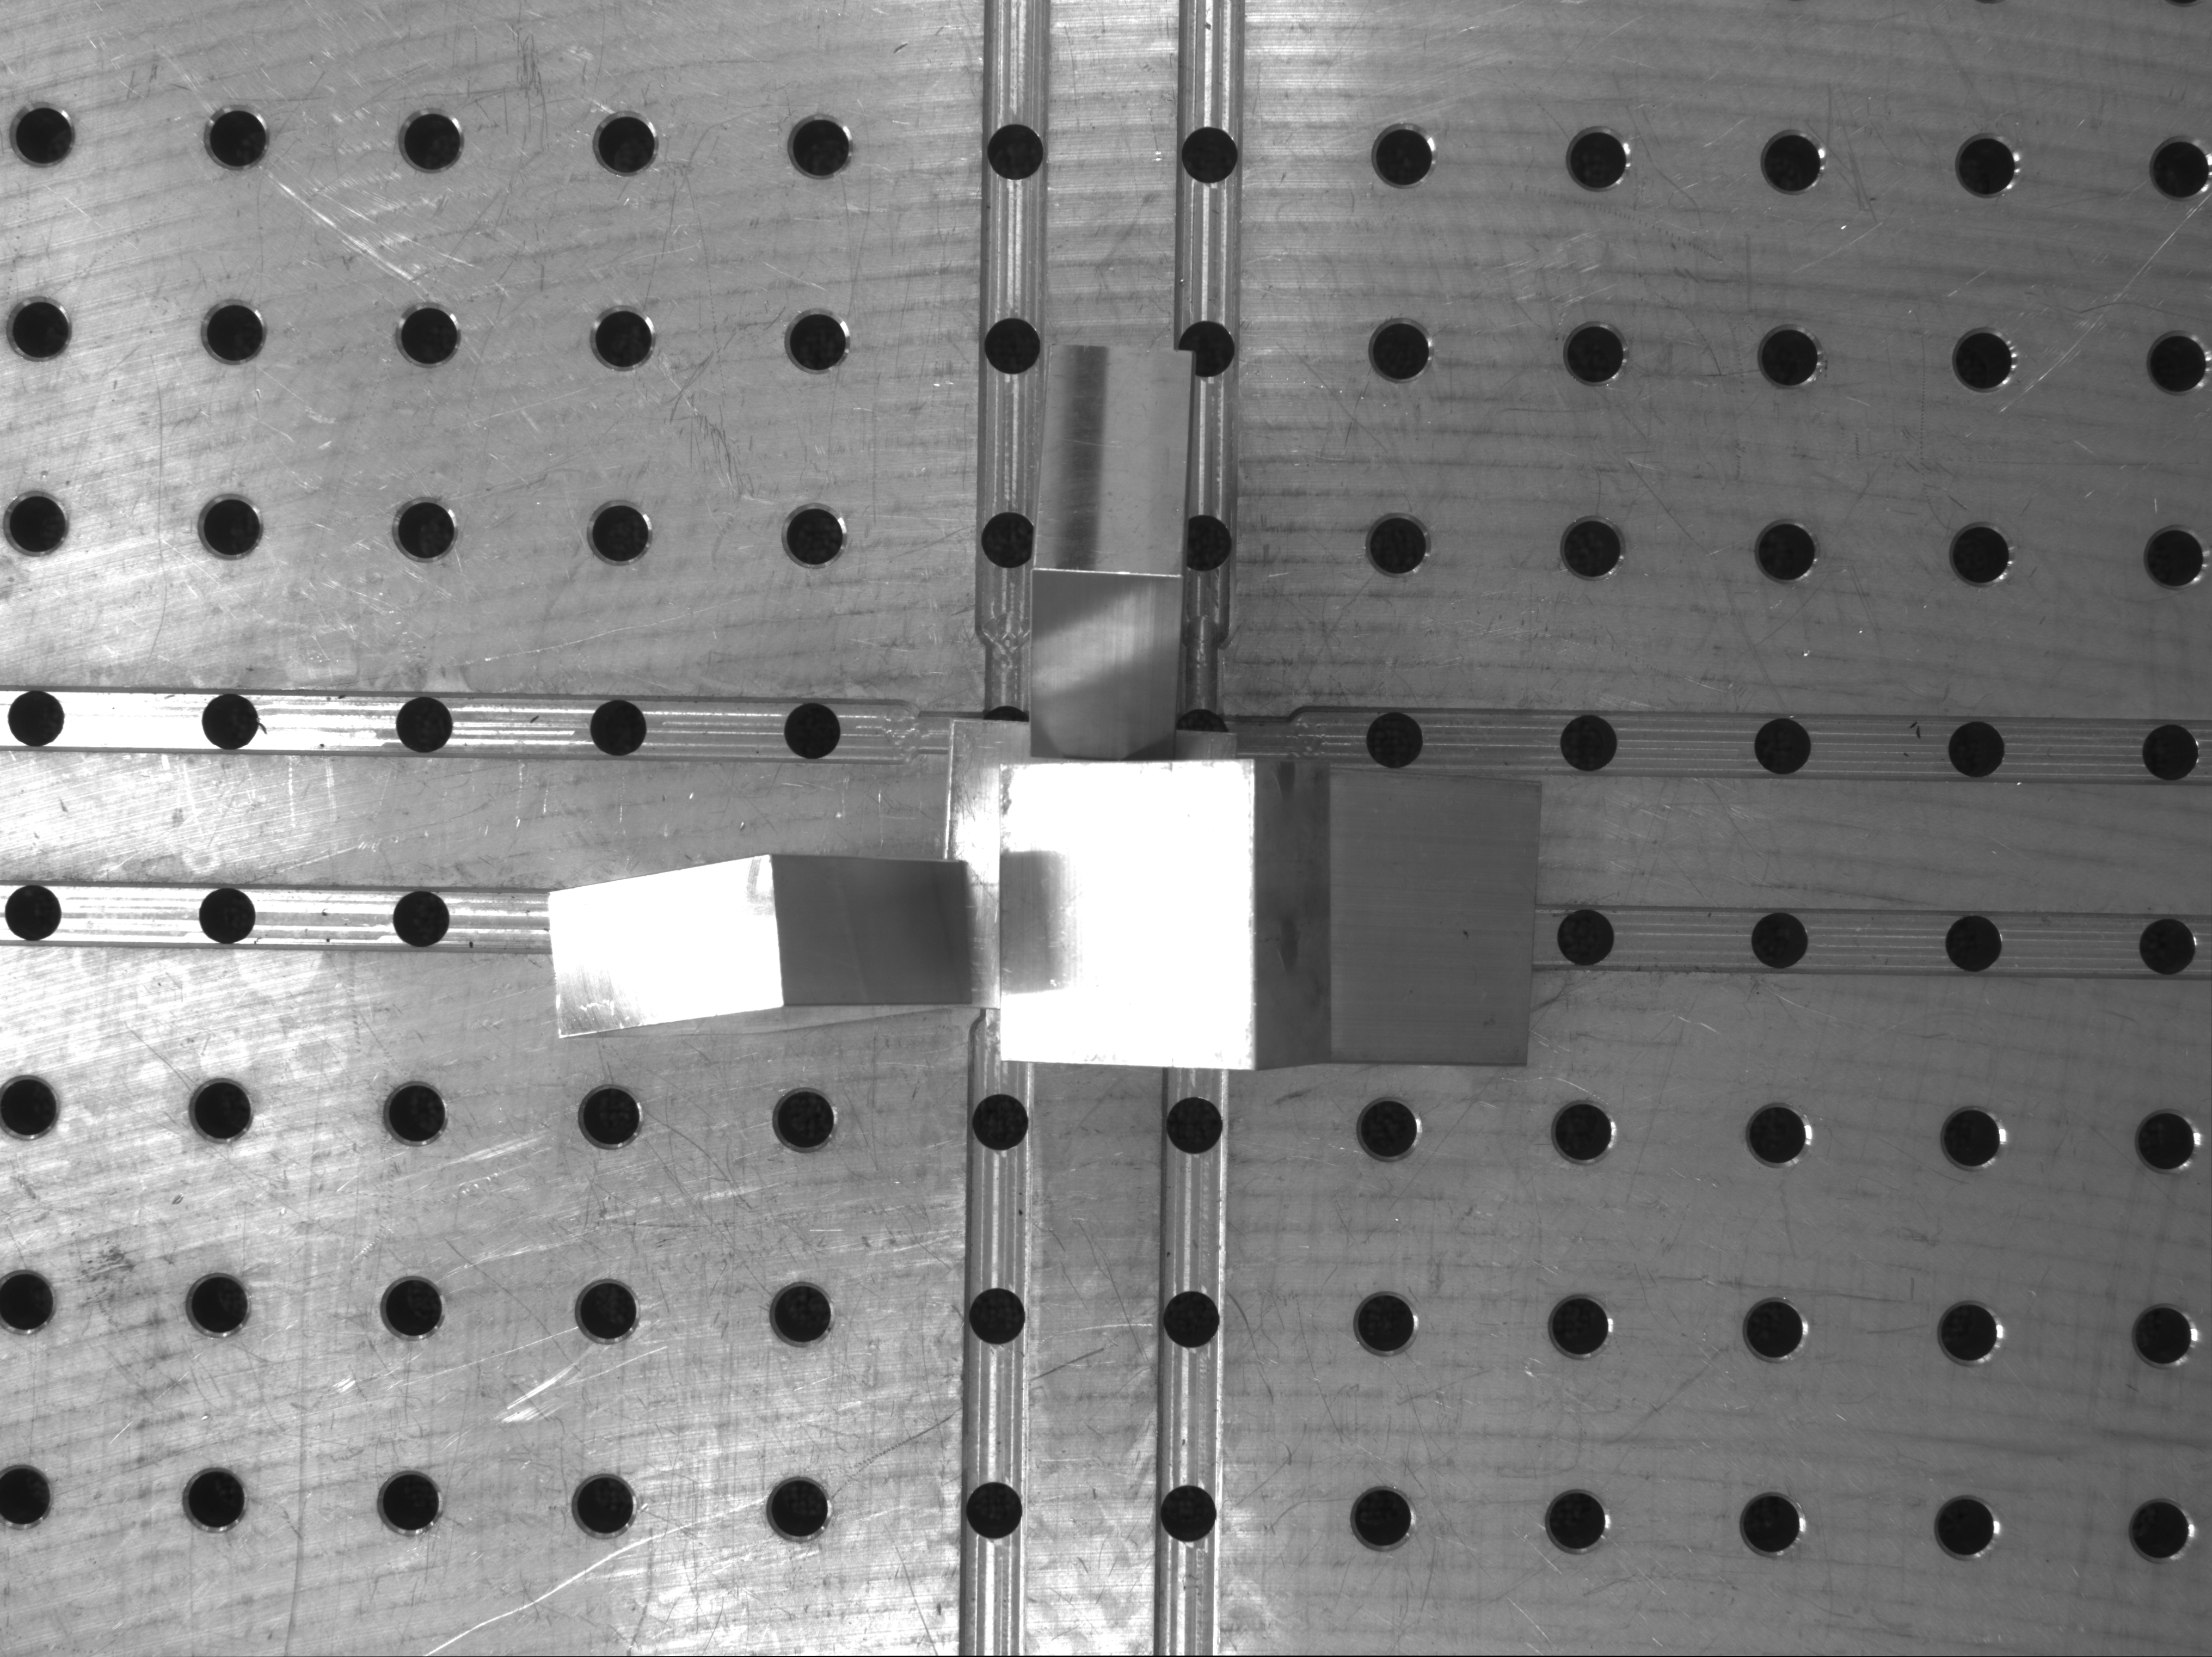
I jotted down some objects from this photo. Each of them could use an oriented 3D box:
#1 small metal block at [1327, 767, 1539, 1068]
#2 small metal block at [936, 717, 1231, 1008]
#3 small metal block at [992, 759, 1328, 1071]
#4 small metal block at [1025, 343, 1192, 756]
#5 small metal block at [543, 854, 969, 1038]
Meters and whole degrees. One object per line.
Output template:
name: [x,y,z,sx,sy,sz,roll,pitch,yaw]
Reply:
small metal block: [0.046,0.015,0.637,0.050,0.025,0.050,3,90,-31]
small metal block: [-0.004,0.007,0.649,0.050,0.025,0.050,2,90,0]
small metal block: [0.009,0.014,0.612,0.050,0.025,0.050,-1,90,33]
small metal block: [0.000,-0.047,0.626,0.025,0.050,0.050,3,54,1]
small metal block: [-0.059,0.020,0.626,0.050,0.050,0.025,-9,83,35]
